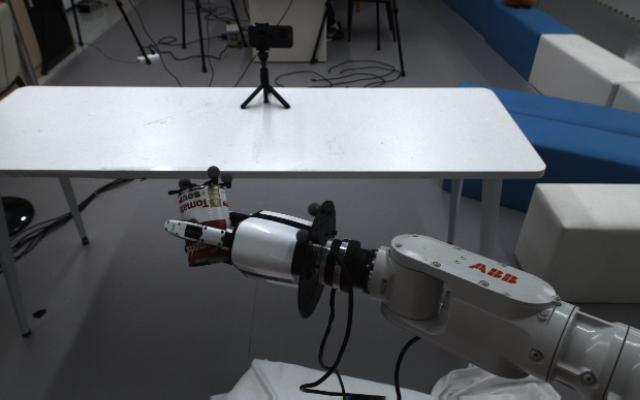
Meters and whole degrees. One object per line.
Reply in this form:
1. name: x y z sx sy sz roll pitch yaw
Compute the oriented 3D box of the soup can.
1. soup can: -0.157 0.038 0.679 0.067 0.067 0.101 -10 80 -17
